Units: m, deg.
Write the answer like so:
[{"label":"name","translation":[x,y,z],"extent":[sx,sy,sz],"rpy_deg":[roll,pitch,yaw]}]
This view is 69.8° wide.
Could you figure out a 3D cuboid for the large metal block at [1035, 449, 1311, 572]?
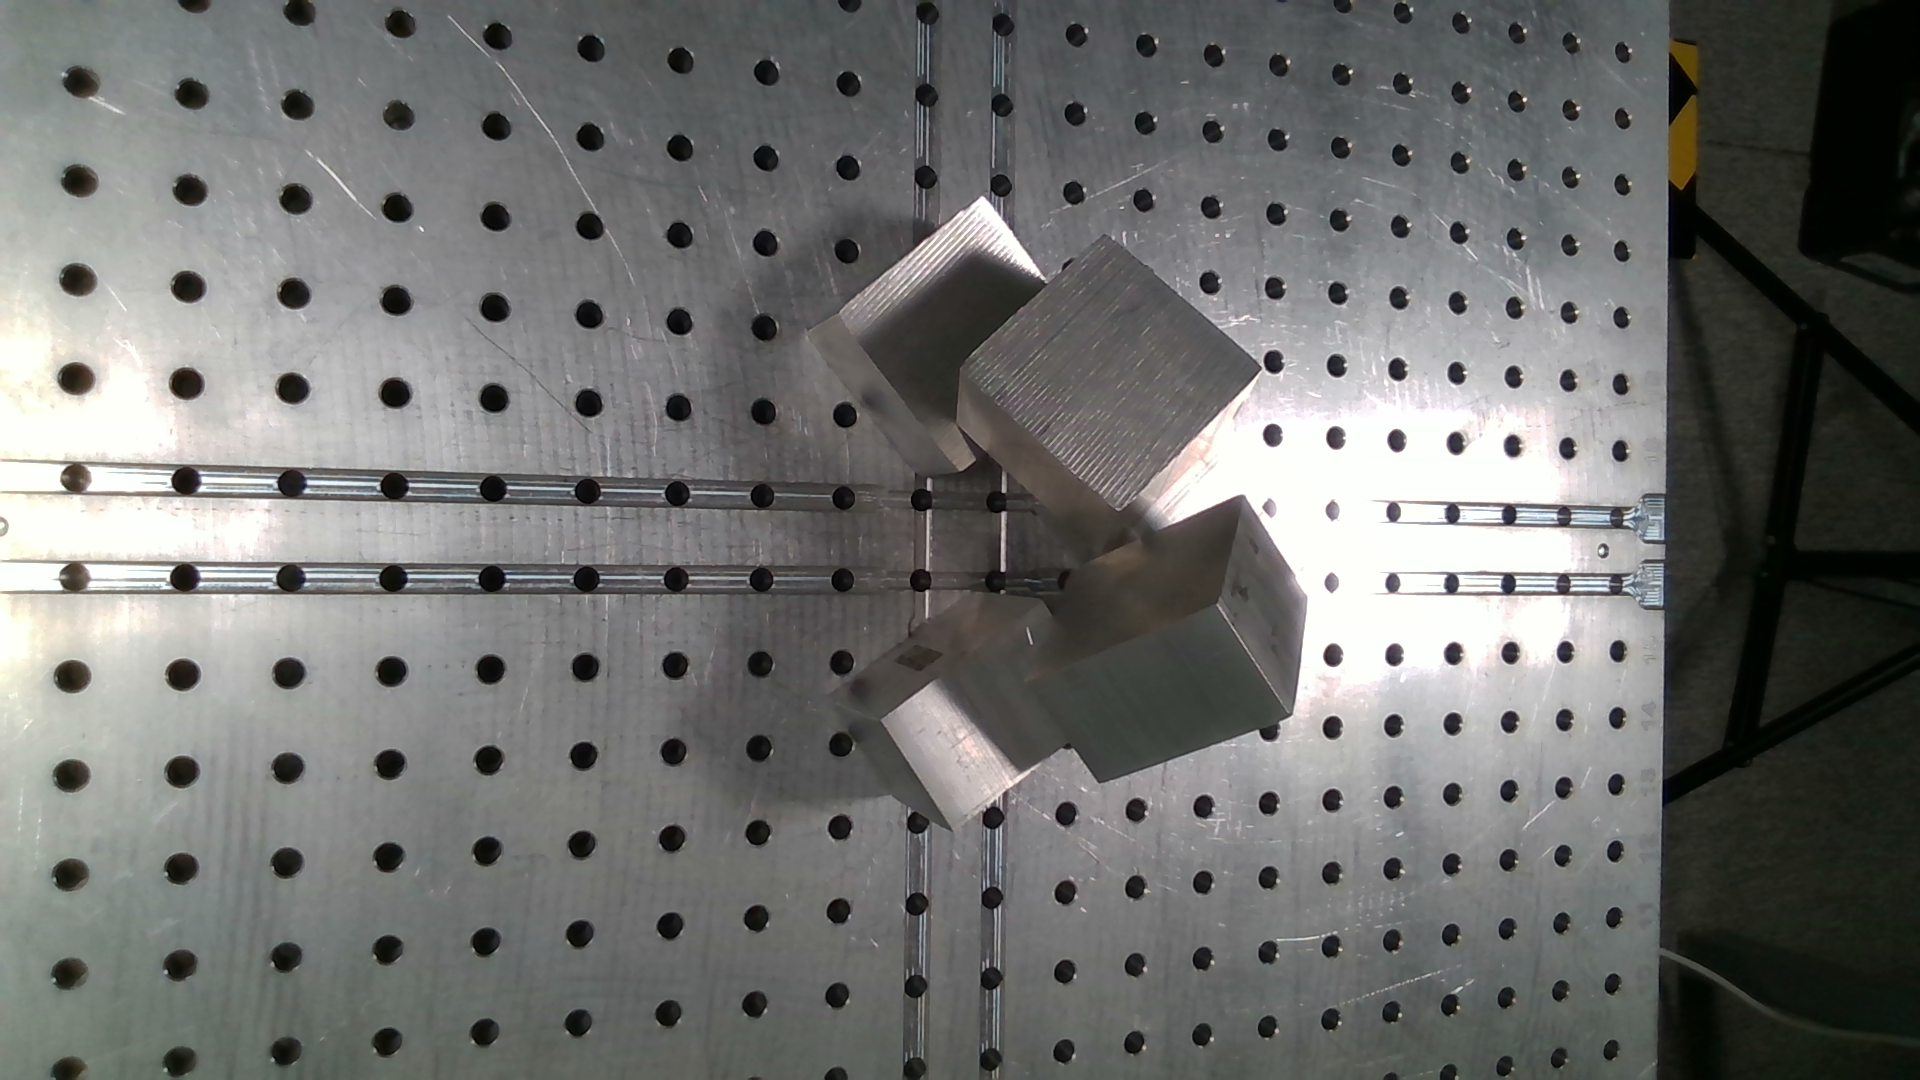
[{"label":"large metal block","translation":[0.089,-0.002,0.590],"extent":[0.050,0.080,0.080],"rpy_deg":[-44,104,-15]}]

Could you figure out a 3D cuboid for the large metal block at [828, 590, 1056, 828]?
[{"label":"large metal block","translation":[0.001,0.065,0.558],"extent":[0.080,0.080,0.050],"rpy_deg":[-36,102,-17]}]

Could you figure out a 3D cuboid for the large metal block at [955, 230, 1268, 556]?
[{"label":"large metal block","translation":[0.055,-0.056,0.525],"extent":[0.080,0.050,0.080],"rpy_deg":[43,75,11]}]

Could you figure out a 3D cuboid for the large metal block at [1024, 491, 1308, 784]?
[{"label":"large metal block","translation":[0.079,0.035,0.513],"extent":[0.050,0.080,0.080],"rpy_deg":[54,31,-17]}]

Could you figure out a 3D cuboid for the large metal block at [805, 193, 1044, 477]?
[{"label":"large metal block","translation":[-0.004,-0.082,0.573],"extent":[0.080,0.050,0.080],"rpy_deg":[-41,103,-15]}]
